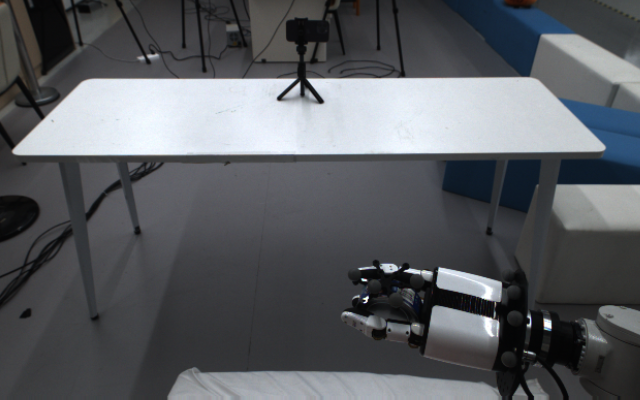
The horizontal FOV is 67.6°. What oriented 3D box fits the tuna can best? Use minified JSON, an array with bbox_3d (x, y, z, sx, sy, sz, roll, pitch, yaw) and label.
[{"bbox_3d":[0.094,0.144,0.640,0.085,0.085,0.034,12,39,13],"label":"tuna can"}]
